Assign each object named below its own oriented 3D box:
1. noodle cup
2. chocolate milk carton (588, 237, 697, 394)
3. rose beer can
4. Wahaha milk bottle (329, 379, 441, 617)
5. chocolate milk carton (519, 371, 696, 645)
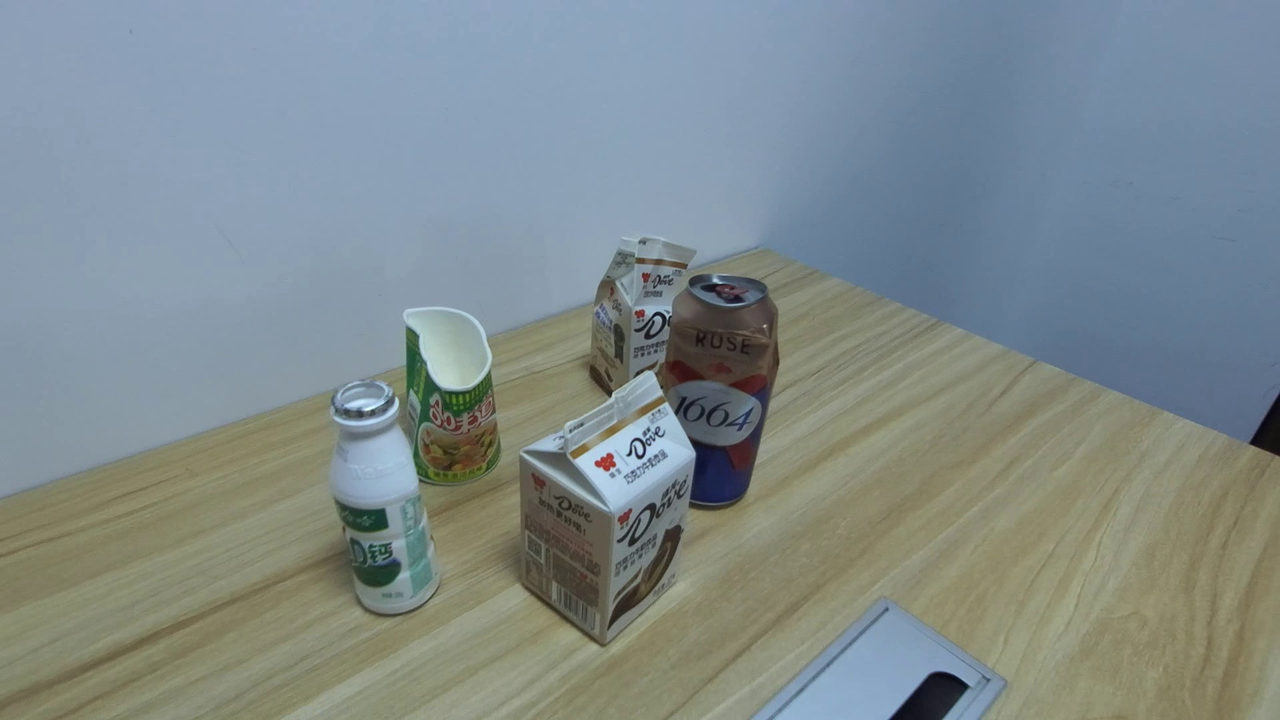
[{"bbox_3d":[-0.140,0.031,0.522,0.070,0.111,0.115,-2,31,-6],"label":"noodle cup"},{"bbox_3d":[0.005,-0.043,0.614,0.076,0.155,0.073,-15,39,-27],"label":"chocolate milk carton"},{"bbox_3d":[0.055,0.022,0.497,0.075,0.167,0.065,15,32,23],"label":"rose beer can"},{"bbox_3d":[-0.146,0.080,0.404,0.056,0.148,0.056,1,29,-1],"label":"Wahaha milk bottle"},{"bbox_3d":[-0.019,0.080,0.415,0.073,0.148,0.075,27,37,32],"label":"chocolate milk carton"}]
